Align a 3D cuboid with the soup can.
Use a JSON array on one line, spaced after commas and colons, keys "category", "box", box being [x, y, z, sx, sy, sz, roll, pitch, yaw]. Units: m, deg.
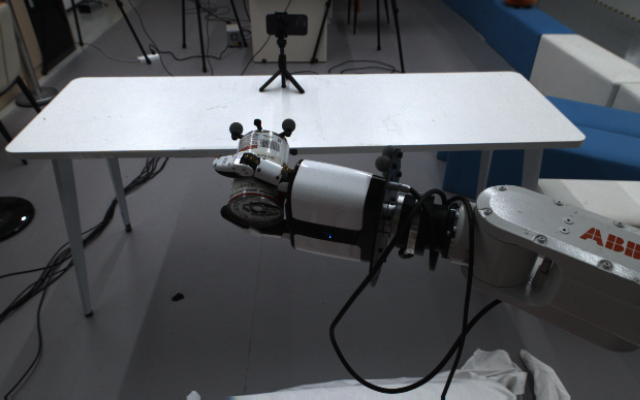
[{"category": "soup can", "box": [-0.073, -0.026, 0.594, 0.067, 0.067, 0.101, 3, 59, 1]}]
